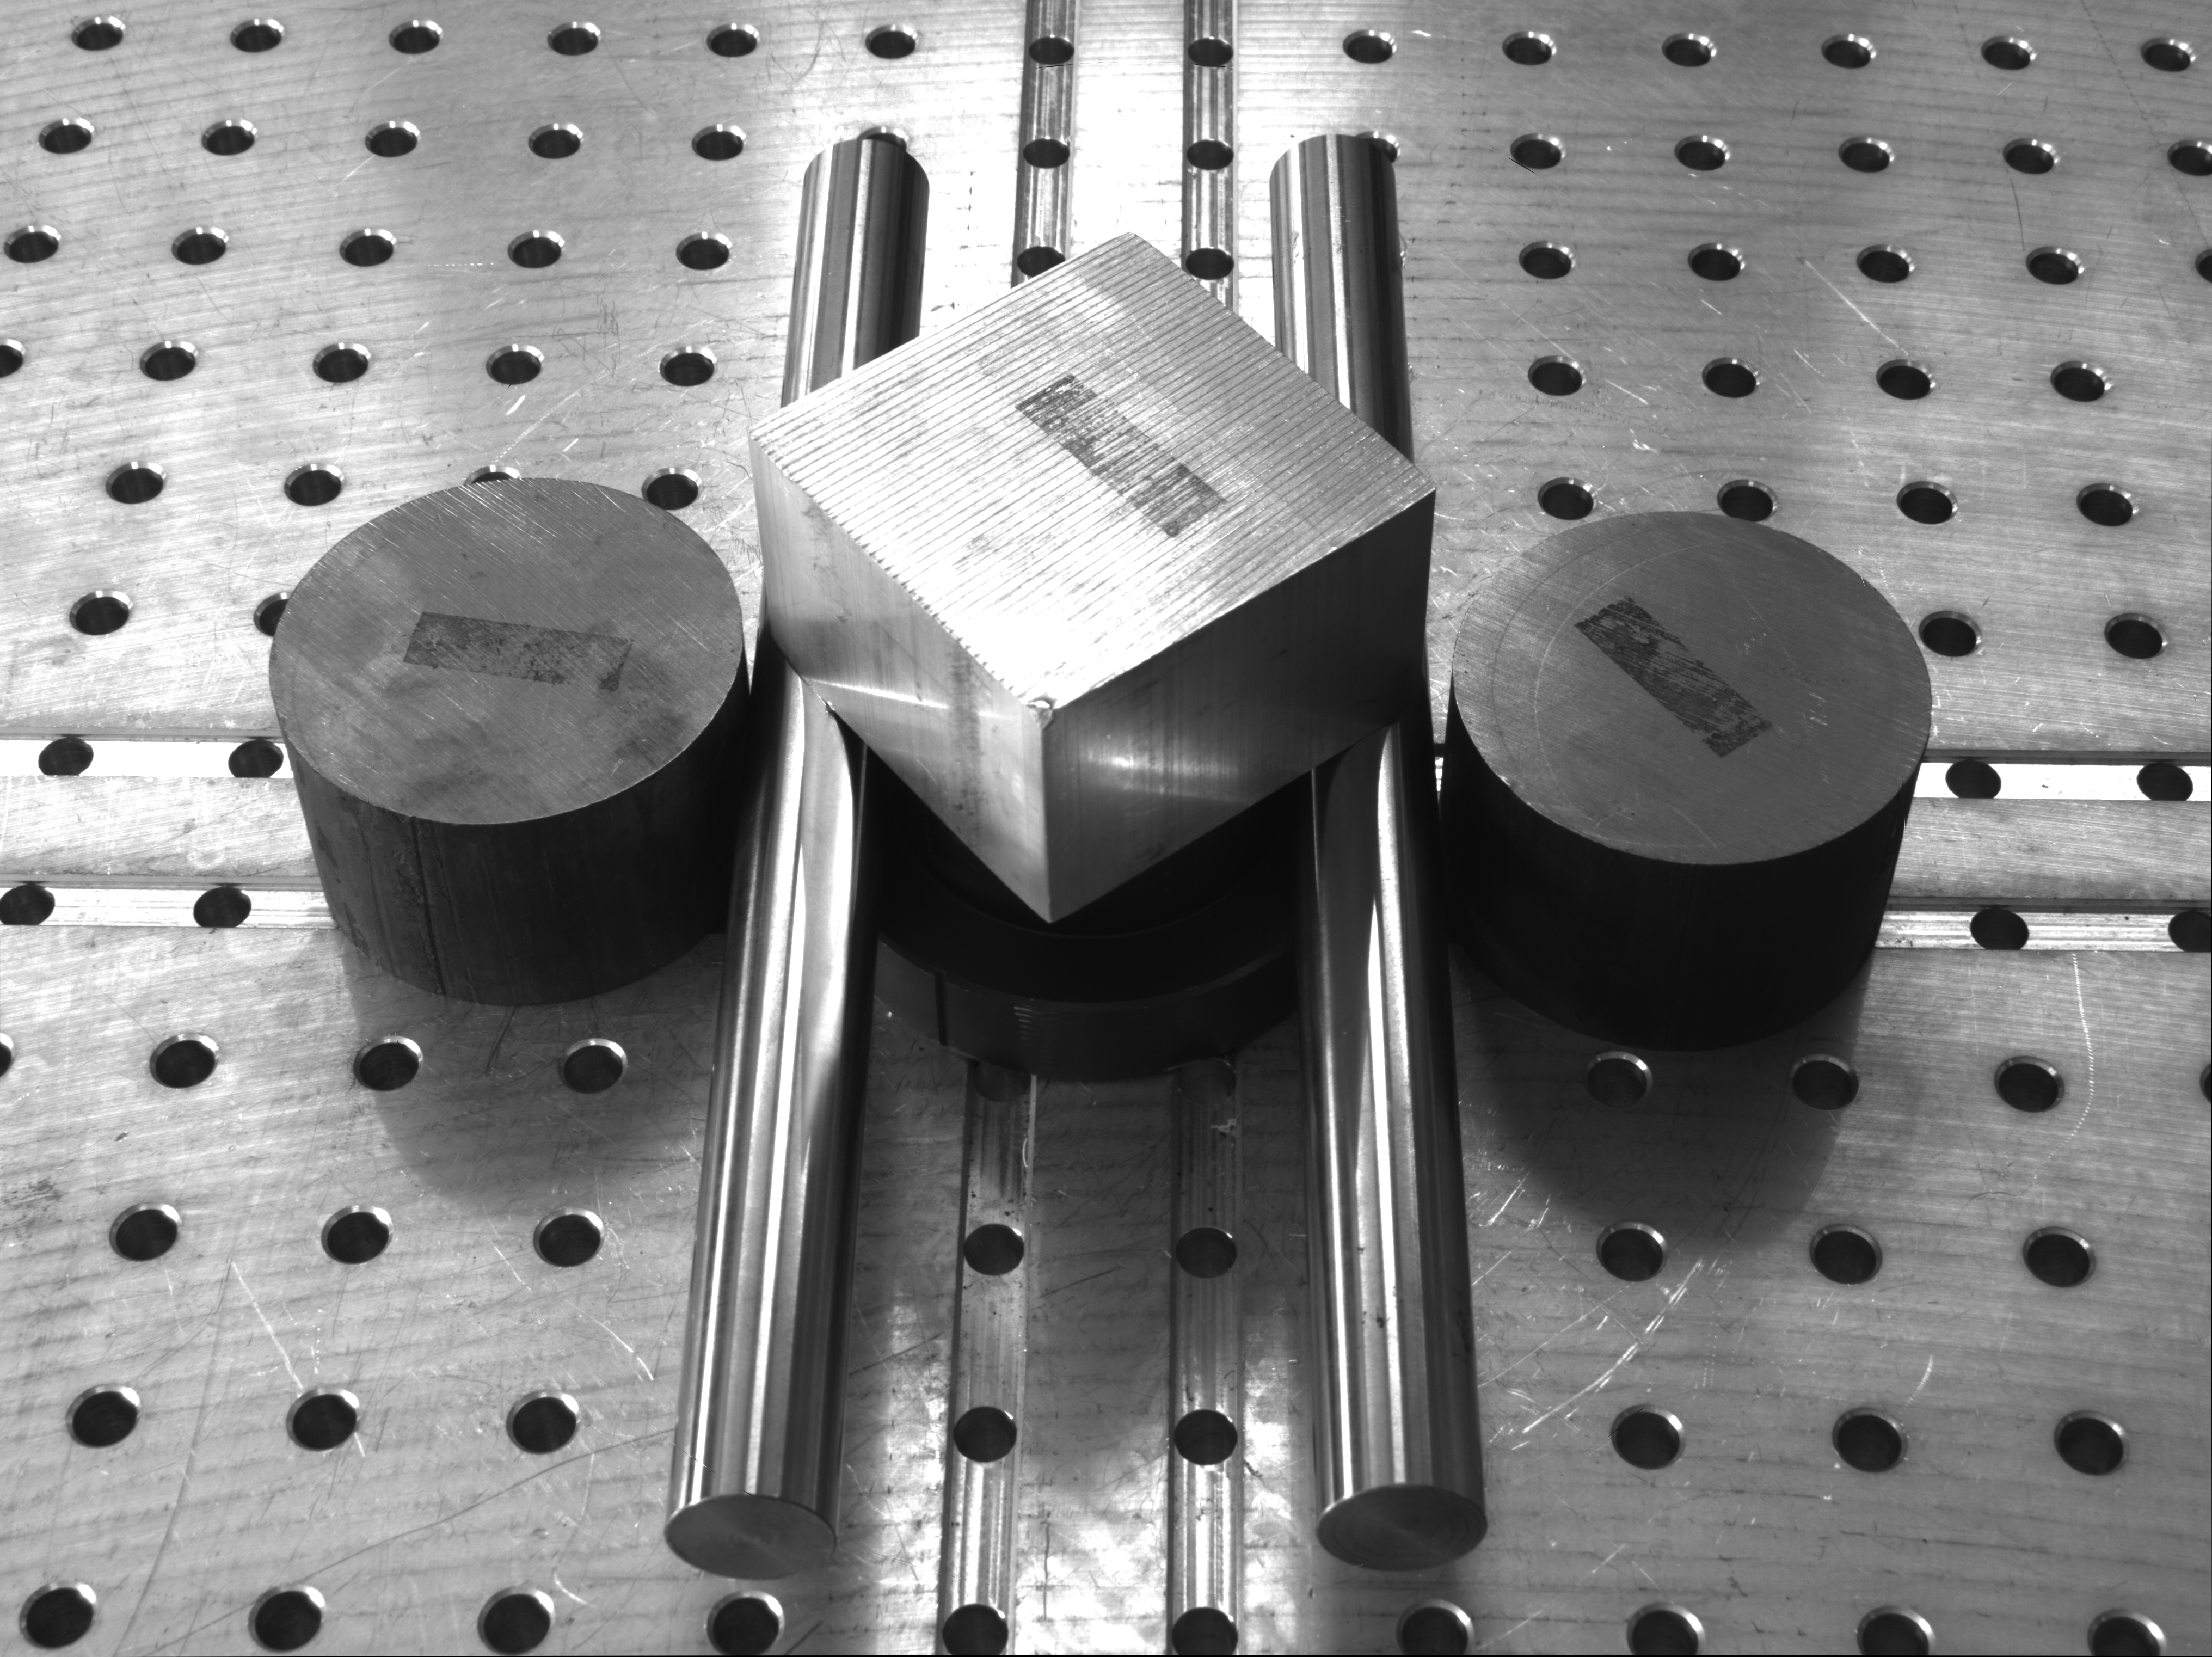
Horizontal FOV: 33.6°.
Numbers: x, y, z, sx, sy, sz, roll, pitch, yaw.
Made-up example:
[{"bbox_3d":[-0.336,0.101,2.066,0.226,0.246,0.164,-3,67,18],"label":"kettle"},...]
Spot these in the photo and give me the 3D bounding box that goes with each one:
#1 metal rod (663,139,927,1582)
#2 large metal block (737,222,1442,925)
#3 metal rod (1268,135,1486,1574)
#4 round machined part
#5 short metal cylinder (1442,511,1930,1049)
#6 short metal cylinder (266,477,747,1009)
[{"bbox_3d":[-0.050,-0.012,0.627,0.025,0.025,0.300,0,50,1],"label":"metal rod"},{"bbox_3d":[-0.003,-0.044,0.603,0.080,0.050,0.080,-31,56,-23],"label":"large metal block"},{"bbox_3d":[0.044,-0.013,0.628,0.025,0.025,0.300,0,50,0],"label":"metal rod"},{"bbox_3d":[-0.003,-0.007,0.641,0.098,0.042,0.098,0,50,0],"label":"round machined part"},{"bbox_3d":[0.098,-0.009,0.635,0.080,0.050,0.080,0,50,0],"label":"short metal cylinder"},{"bbox_3d":[-0.102,-0.016,0.642,0.080,0.050,0.080,0,50,0],"label":"short metal cylinder"}]
